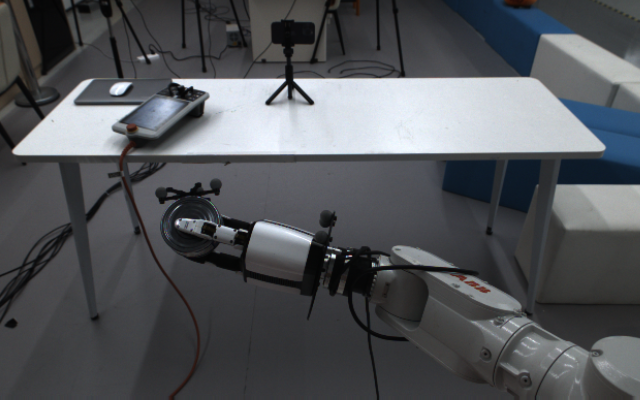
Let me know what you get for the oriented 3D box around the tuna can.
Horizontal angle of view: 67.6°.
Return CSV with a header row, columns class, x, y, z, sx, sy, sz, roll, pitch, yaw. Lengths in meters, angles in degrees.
class,x,y,z,sx,sy,sz,roll,pitch,yaw
tuna can,-0.181,0.038,0.694,0.085,0.034,0.085,0,72,-1
